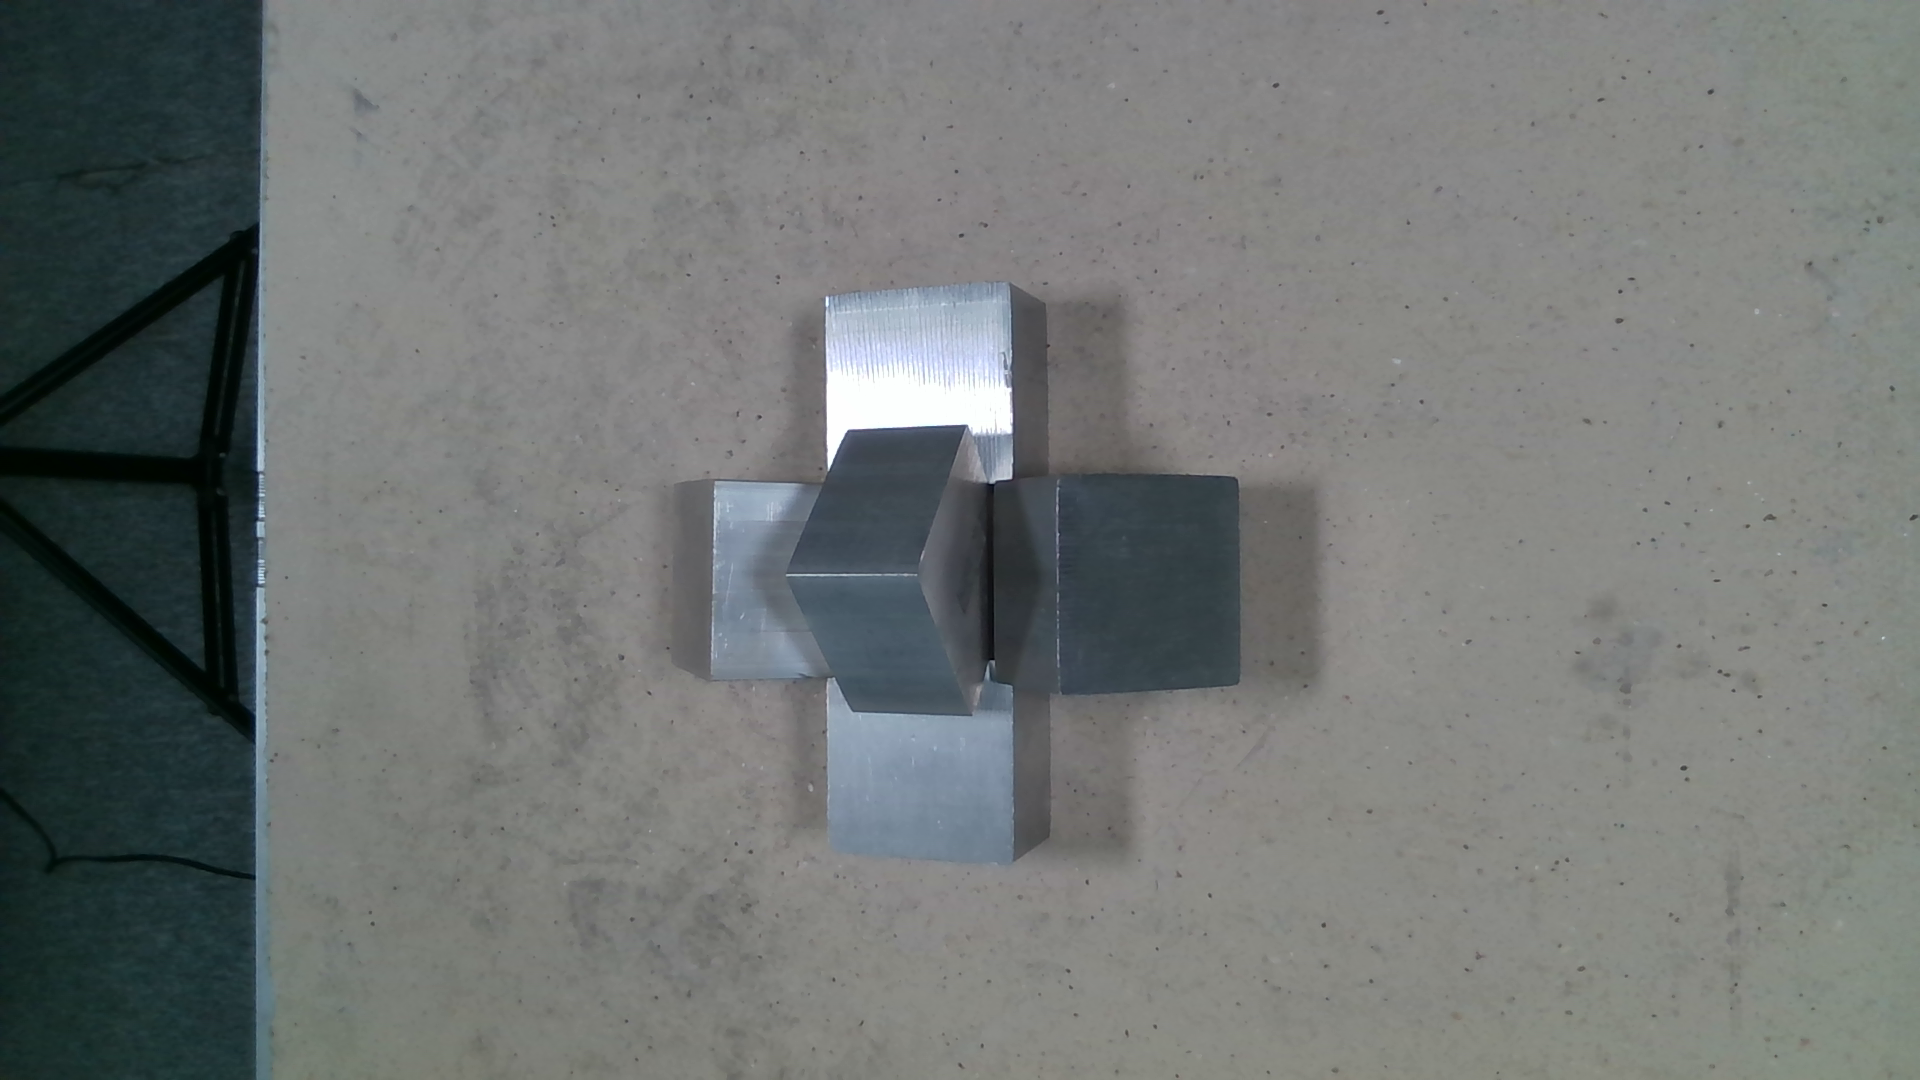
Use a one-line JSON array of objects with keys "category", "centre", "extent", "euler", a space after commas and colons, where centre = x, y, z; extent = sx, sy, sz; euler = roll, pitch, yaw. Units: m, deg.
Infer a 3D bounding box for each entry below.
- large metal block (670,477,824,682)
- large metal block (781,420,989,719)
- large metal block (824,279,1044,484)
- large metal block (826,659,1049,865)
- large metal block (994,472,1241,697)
[{"category": "large metal block", "centre": [-0.090, 0.016, 0.583], "extent": [0.050, 0.080, 0.080], "euler": [1, 90, -23]}, {"category": "large metal block", "centre": [-0.020, 0.011, 0.529], "extent": [0.050, 0.080, 0.080], "euler": [-1, 46, 20]}, {"category": "large metal block", "centre": [-0.009, -0.062, 0.575], "extent": [0.080, 0.050, 0.080], "euler": [-1, 90, 20]}, {"category": "large metal block", "centre": [-0.009, 0.087, 0.574], "extent": [0.080, 0.050, 0.080], "euler": [0, 90, 20]}, {"category": "large metal block", "centre": [0.060, 0.016, 0.528], "extent": [0.050, 0.080, 0.080], "euler": [0, 90, 64]}]
